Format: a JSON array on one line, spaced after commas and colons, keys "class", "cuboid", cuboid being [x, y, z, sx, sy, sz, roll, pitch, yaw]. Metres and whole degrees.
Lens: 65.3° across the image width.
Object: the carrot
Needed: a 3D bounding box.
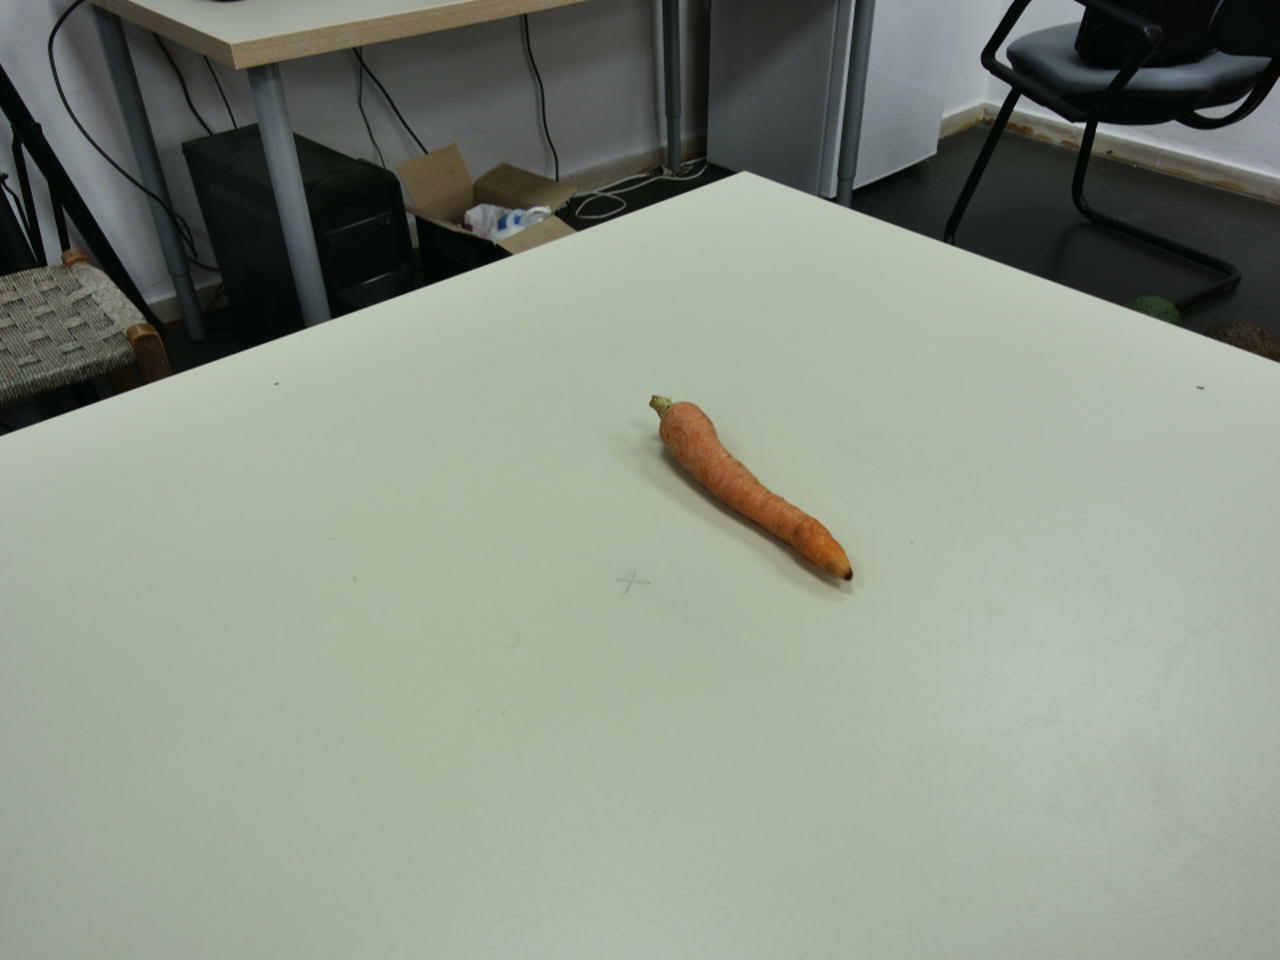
[{"class": "carrot", "cuboid": [0.056, 0.000, 0.549, 0.030, 0.032, 0.173, -20, 40, -24]}]
